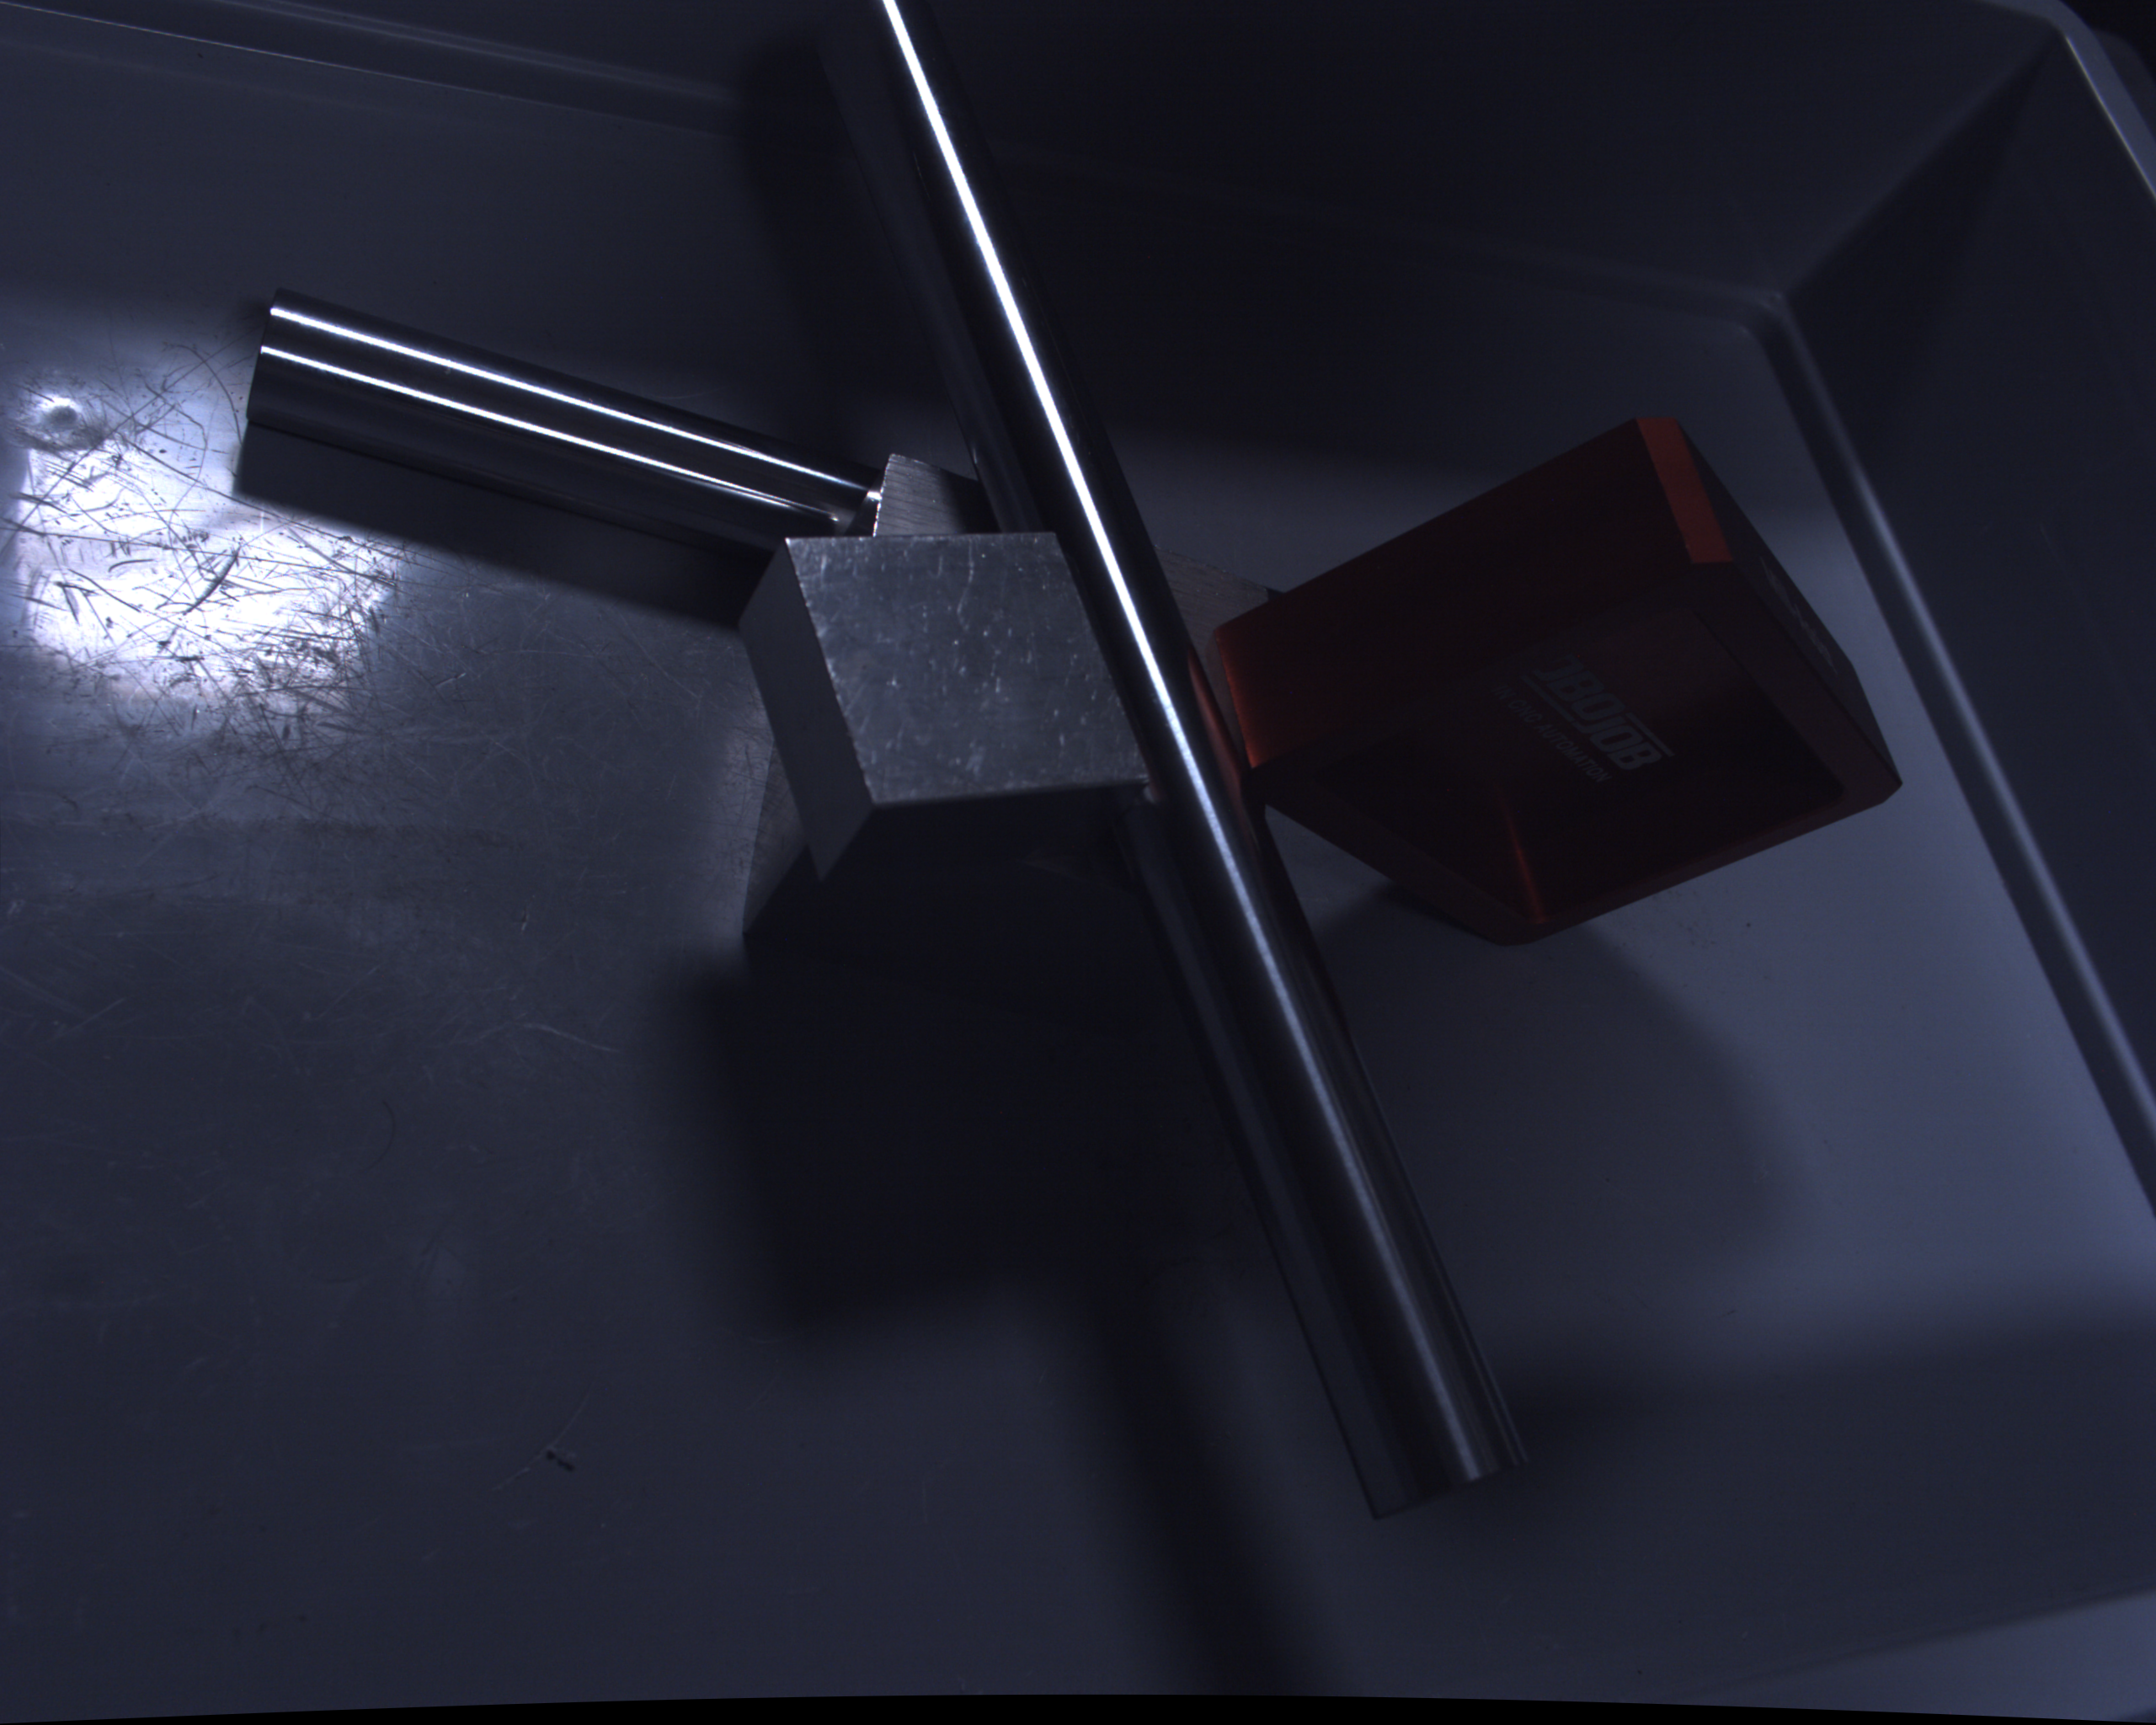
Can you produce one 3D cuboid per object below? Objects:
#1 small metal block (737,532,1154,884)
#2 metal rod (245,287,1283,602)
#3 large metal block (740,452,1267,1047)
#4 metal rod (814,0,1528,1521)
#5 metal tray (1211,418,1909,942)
[{"bbox_3d":[-0.022,-0.027,0.345,0.050,0.025,0.050,-7,65,-32],"label":"small metal block"},{"bbox_3d":[-0.012,-0.060,0.436,0.302,0.025,0.025,14,56,-21],"label":"metal rod"},{"bbox_3d":[-0.012,-0.020,0.395,0.081,0.050,0.080,17,55,-19],"label":"large metal block"},{"bbox_3d":[0.007,-0.036,0.367,0.025,0.025,0.299,-7,65,-32],"label":"metal rod"},{"bbox_3d":[0.096,-0.027,0.398,0.130,0.090,0.030,25,46,-54],"label":"metal tray"}]
